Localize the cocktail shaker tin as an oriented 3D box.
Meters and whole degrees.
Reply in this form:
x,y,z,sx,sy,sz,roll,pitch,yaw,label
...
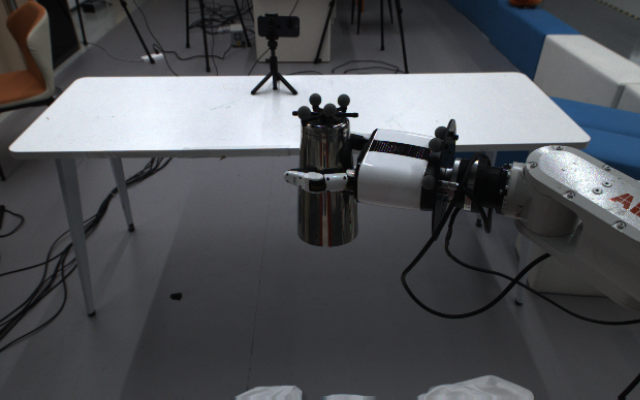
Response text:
x,y,z,sx,sy,sz,roll,pitch,yaw,label
0.011,-0.031,0.685,0.093,0.170,0.093,-1,26,1,cocktail shaker tin
